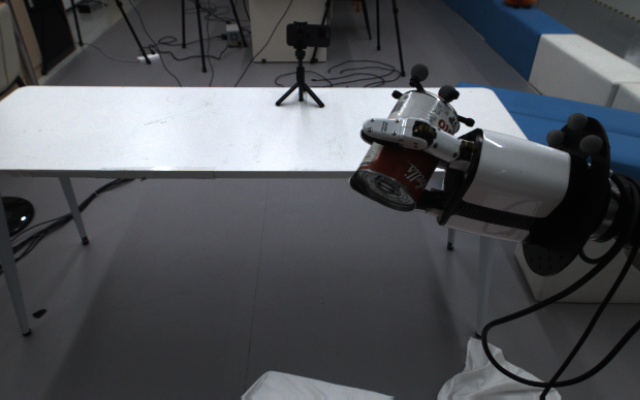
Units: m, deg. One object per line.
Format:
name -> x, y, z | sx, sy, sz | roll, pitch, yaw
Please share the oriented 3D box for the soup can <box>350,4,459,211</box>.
soup can -> 0.088, -0.049, 0.478 | 0.067, 0.067, 0.101 | 22, 71, 27
